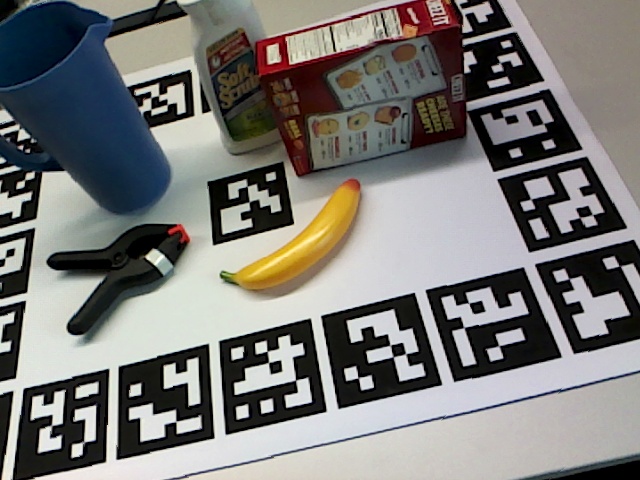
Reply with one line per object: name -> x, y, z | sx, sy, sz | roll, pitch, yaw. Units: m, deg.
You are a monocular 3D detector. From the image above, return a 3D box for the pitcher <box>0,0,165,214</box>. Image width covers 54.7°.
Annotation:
pitcher -> -0.287, -0.137, 0.729 | 0.188, 0.241, 0.134 | -29, 52, -9

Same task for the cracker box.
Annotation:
cracker box -> 0.057, -0.175, 0.715 | 0.214, 0.163, 0.072 | -15, 50, 7

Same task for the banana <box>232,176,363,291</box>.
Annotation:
banana -> -0.010, -0.002, 0.717 | 0.197, 0.038, 0.075 | -43, 55, -16

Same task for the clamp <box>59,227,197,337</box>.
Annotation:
clamp -> -0.227, 0.033, 0.745 | 0.165, 0.036, 0.122 | -28, 51, -7

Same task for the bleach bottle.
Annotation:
bleach bottle -> -0.110, -0.208, 0.752 | 0.103, 0.249, 0.068 | -16, 52, 5
